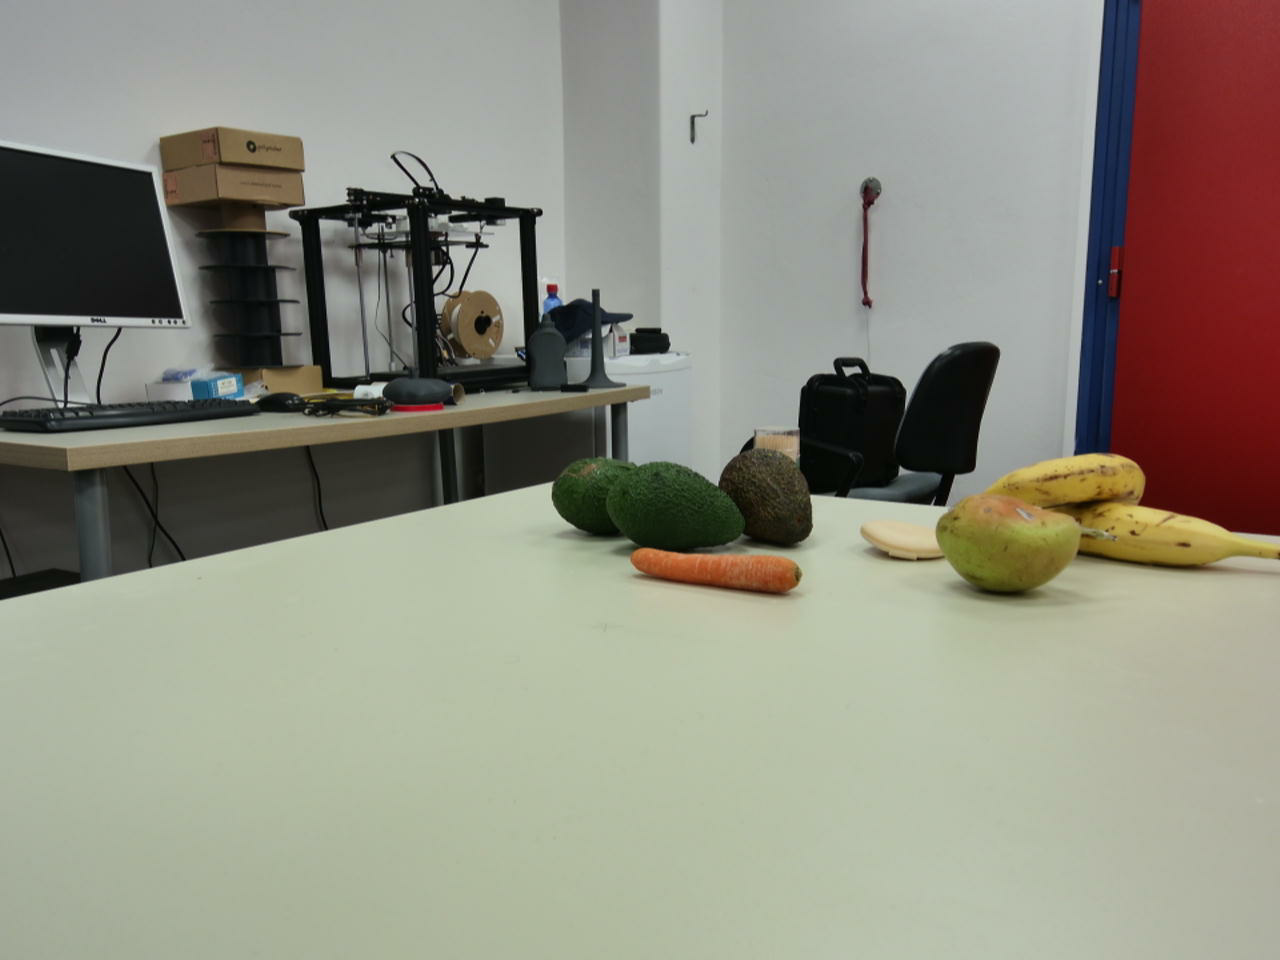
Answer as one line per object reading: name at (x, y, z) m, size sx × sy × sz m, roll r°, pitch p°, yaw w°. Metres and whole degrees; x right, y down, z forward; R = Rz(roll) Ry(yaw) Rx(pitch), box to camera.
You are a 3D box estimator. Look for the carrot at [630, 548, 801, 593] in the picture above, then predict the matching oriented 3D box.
carrot at (0.047, 0.057, 0.652) m, size 0.122 × 0.023 × 0.024 m, roll 5°, pitch 8°, yaw 32°
